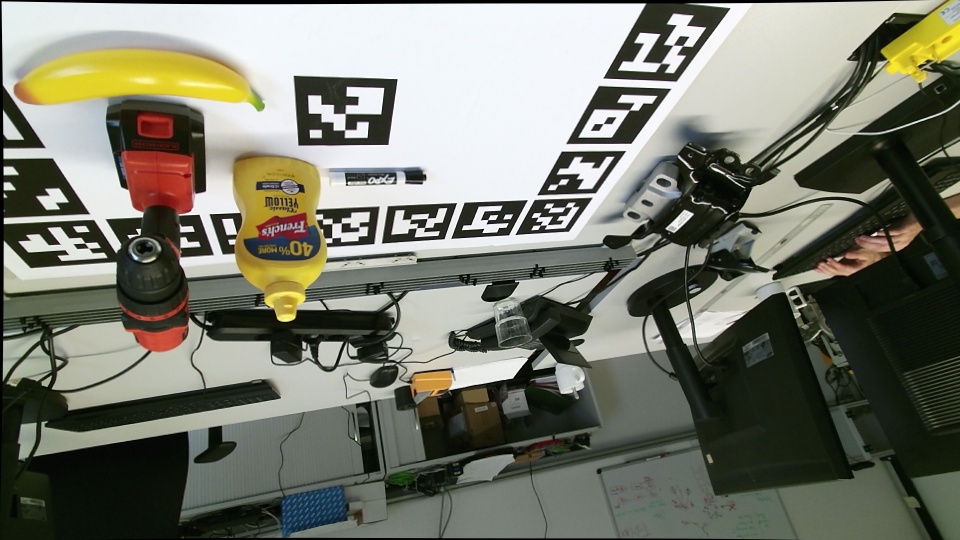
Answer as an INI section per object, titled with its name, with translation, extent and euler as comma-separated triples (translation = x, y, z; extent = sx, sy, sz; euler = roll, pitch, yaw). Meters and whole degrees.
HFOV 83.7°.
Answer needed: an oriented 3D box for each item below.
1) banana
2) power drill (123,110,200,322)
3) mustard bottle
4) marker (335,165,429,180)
[banana]
translation = -0.298, -0.185, 0.491
extent = 0.198, 0.038, 0.074
euler = -3, 148, -26
[power drill]
translation = -0.305, -0.058, 0.516
extent = 0.057, 0.186, 0.185
euler = 4, 149, -29
[mustard bottle]
translation = -0.224, -0.048, 0.611
extent = 0.096, 0.190, 0.058
euler = 1, 148, -27
[marker]
translation = -0.126, -0.127, 0.698
extent = 0.121, 0.019, 0.019
euler = -4, 149, -20
